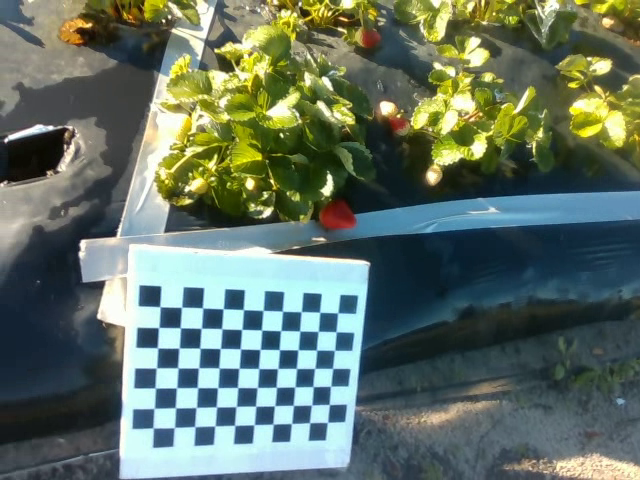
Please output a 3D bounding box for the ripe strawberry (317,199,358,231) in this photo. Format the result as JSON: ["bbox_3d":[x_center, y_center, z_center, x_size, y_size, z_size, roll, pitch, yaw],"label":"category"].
[{"bbox_3d":[0.026,-0.031,0.771,0.063,0.045,0.048,30,0,42],"label":"ripe strawberry"}]
